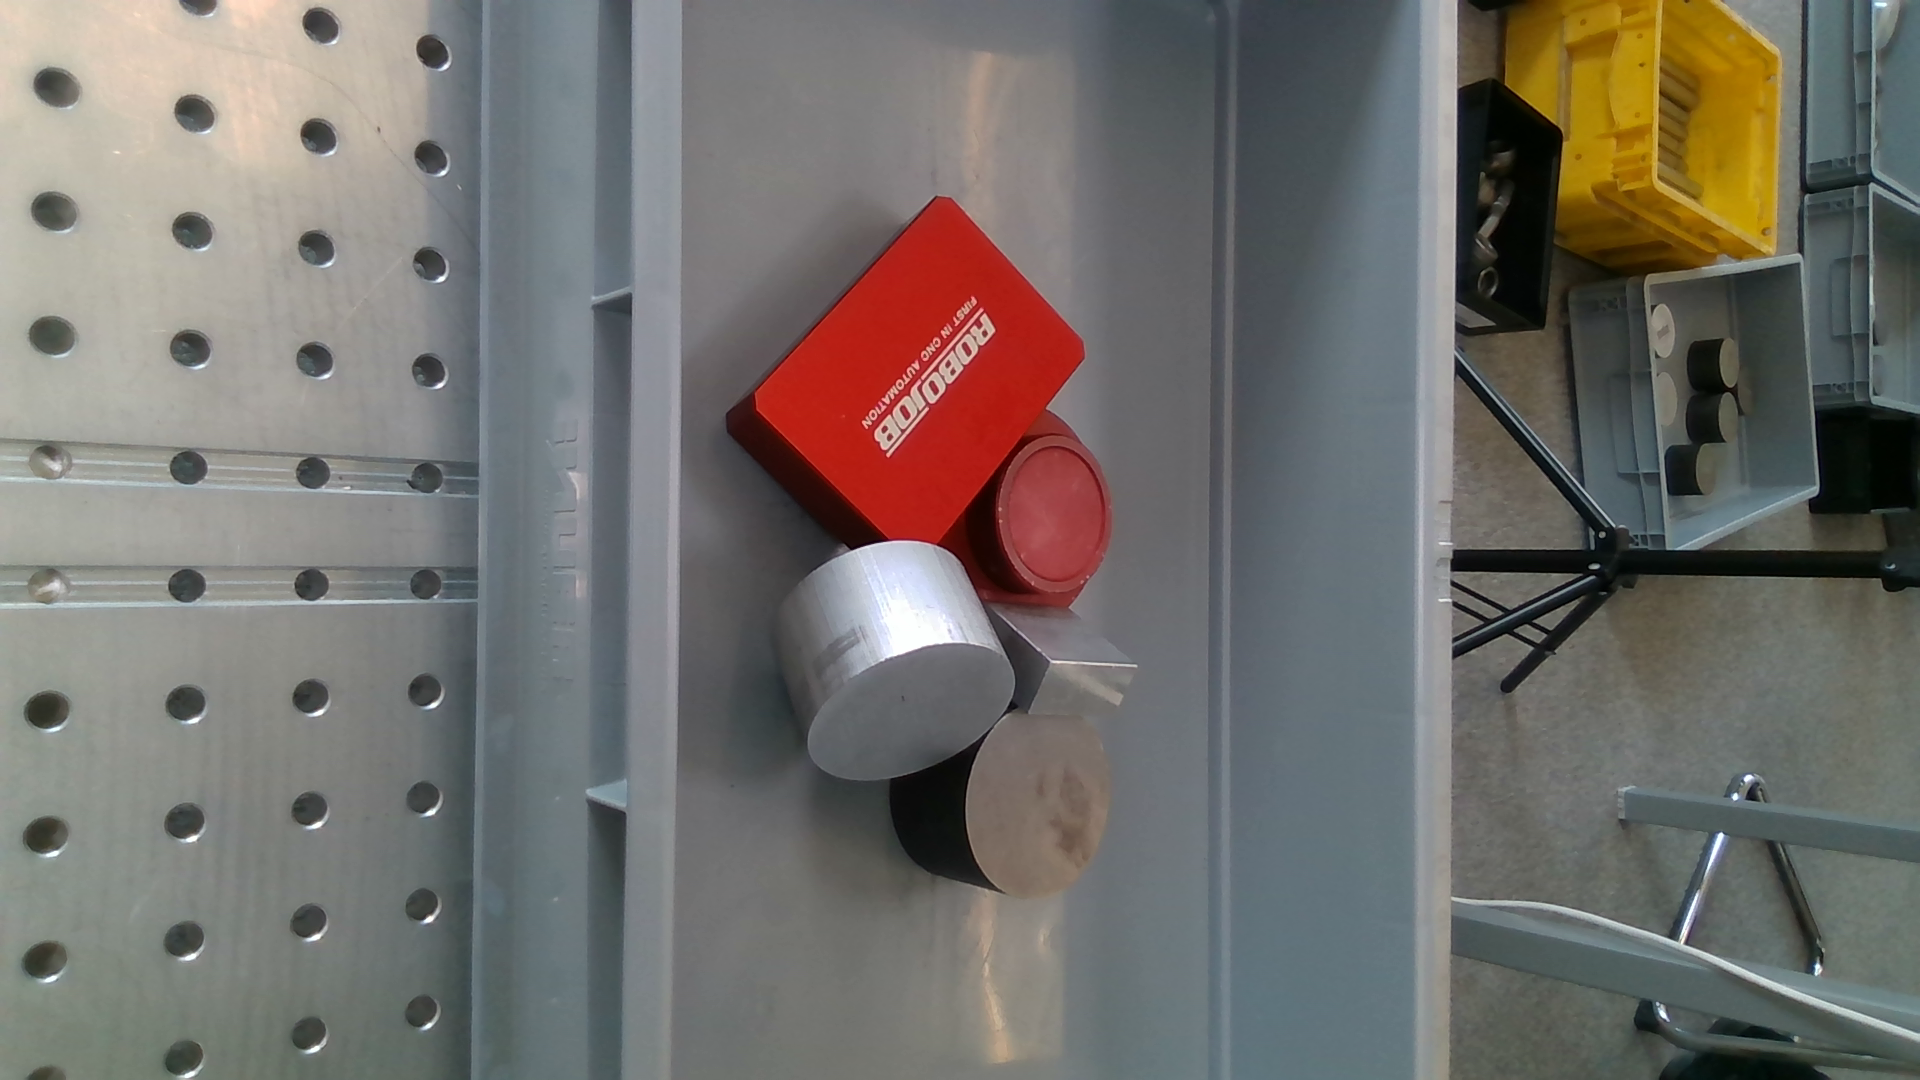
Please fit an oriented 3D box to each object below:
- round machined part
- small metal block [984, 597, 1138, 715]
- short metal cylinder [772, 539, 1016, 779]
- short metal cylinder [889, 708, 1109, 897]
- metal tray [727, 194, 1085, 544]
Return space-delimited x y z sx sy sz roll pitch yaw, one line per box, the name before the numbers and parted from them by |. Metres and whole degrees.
round machined part | 0.028 -0.011 0.594 0.098 0.042 0.098 0 90 -40
small metal block | 0.036 0.048 0.573 0.050 0.050 0.025 7 113 -41
short metal cylinder | -0.026 0.045 0.516 0.080 0.080 0.050 12 39 -40
short metal cylinder | 0.017 0.105 0.581 0.080 0.050 0.080 0 90 -40
metal tray | -0.018 -0.063 0.548 0.090 0.030 0.130 45 62 -14
